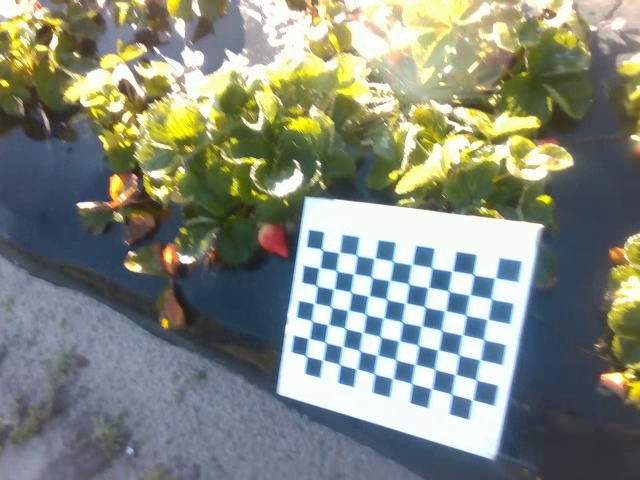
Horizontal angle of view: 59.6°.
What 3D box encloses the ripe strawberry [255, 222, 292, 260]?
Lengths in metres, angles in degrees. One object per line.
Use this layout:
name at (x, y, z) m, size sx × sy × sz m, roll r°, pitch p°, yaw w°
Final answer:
ripe strawberry at (-0.071, 0.004, 0.814) m, size 0.040 × 0.065 × 0.040 m, roll -42°, pitch -16°, yaw 16°
